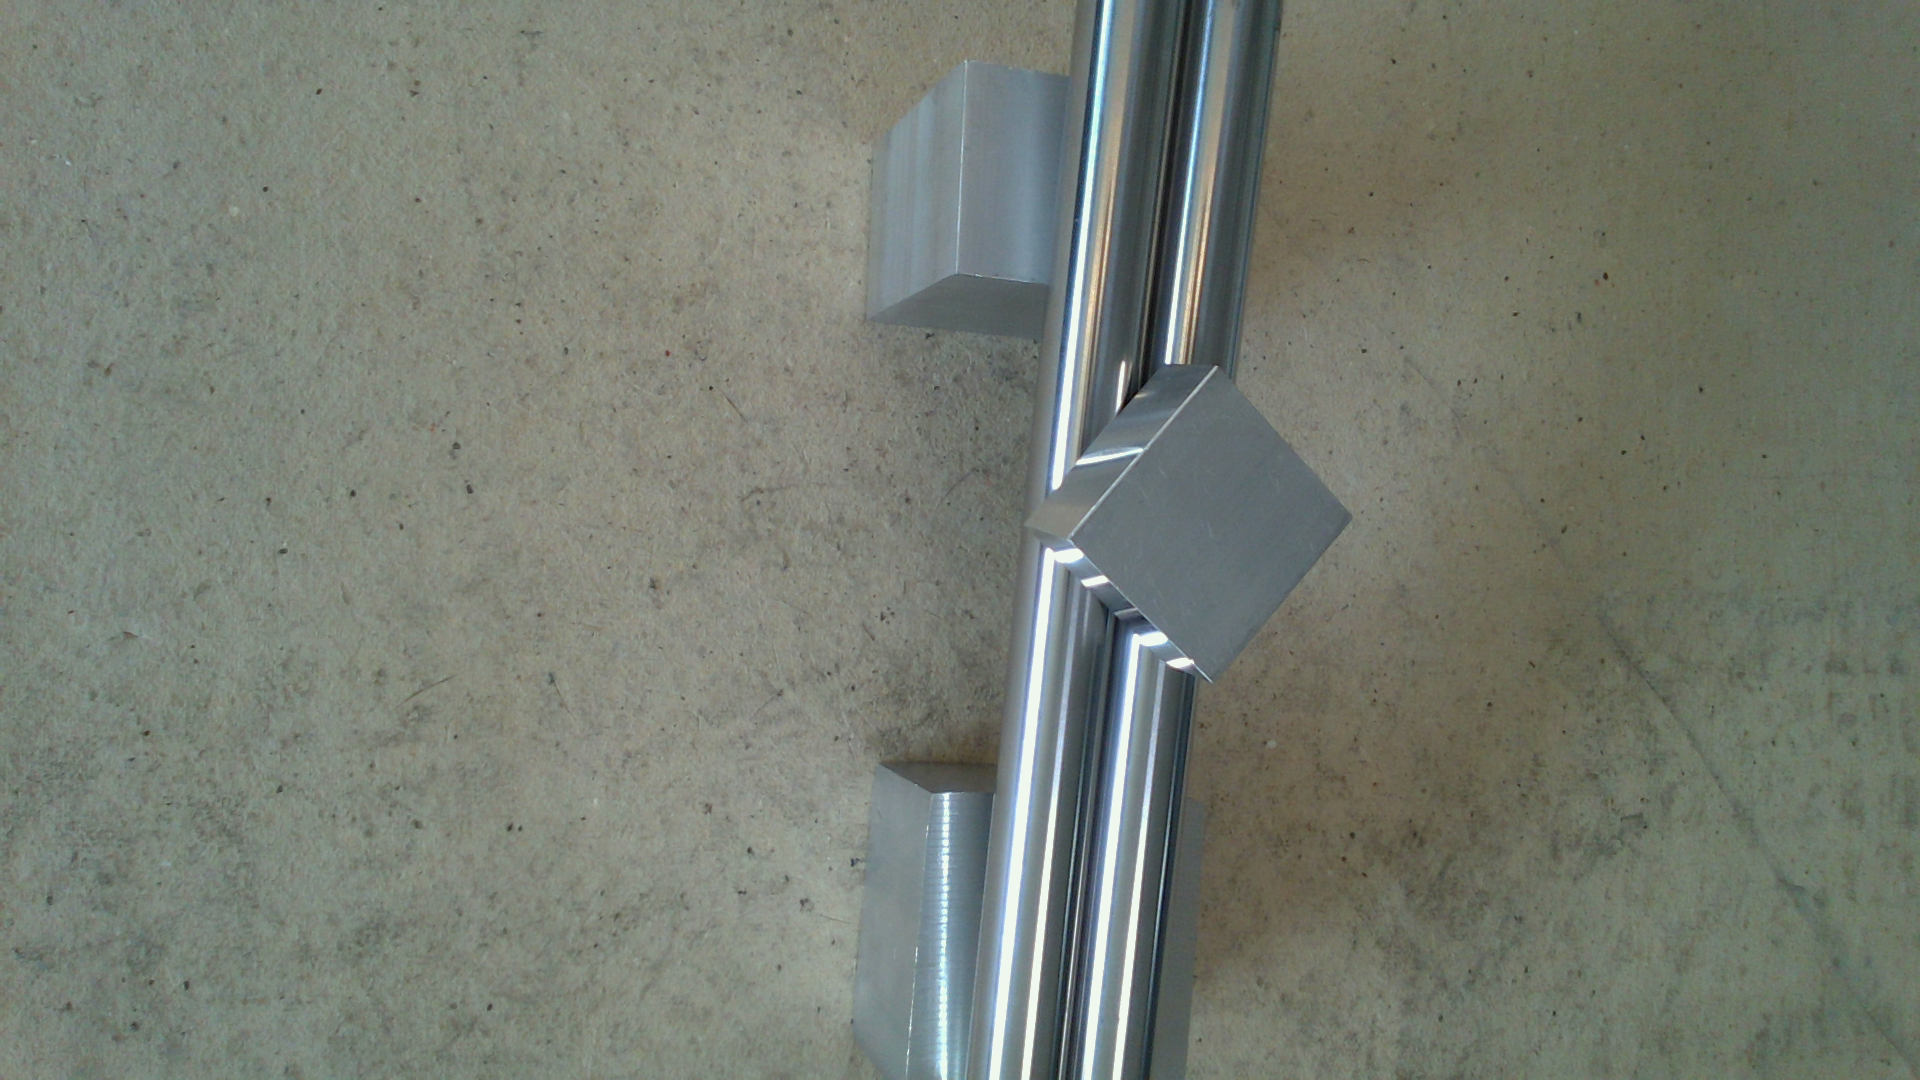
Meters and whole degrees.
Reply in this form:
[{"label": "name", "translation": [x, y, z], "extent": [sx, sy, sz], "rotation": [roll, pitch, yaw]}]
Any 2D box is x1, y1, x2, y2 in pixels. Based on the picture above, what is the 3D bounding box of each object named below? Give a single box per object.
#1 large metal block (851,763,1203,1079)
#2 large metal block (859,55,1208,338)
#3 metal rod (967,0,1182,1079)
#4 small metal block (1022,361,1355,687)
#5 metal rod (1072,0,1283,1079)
[{"label": "large metal block", "translation": [0.018, 0.107, 0.386], "extent": [0.080, 0.050, 0.080], "rotation": [5, 88, -20]}, {"label": "large metal block", "translation": [0.023, -0.086, 0.373], "extent": [0.080, 0.080, 0.050], "rotation": [4, 89, -20]}, {"label": "metal rod", "translation": [0.027, -0.006, 0.326], "extent": [0.025, 0.025, 0.300], "rotation": [3, 96, -20]}, {"label": "small metal block", "translation": [0.051, -0.004, 0.309], "extent": [0.050, 0.025, 0.050], "rotation": [44, 82, -20]}, {"label": "metal rod", "translation": [0.052, -0.004, 0.335], "extent": [0.025, 0.025, 0.300], "rotation": [3, 96, -20]}]
